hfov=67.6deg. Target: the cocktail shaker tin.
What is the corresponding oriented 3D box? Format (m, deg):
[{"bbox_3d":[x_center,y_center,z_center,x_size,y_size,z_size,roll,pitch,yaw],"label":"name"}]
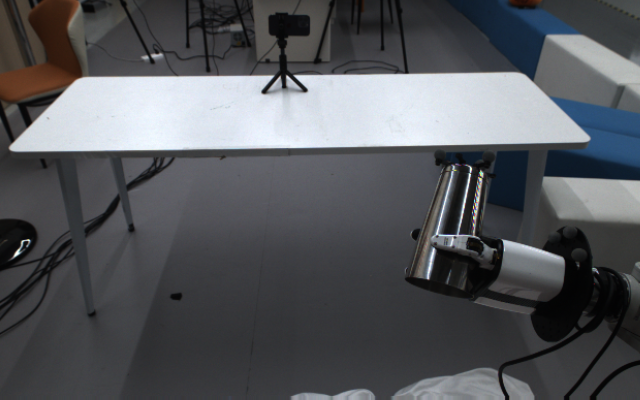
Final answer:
[{"bbox_3d":[0.183,0.040,0.672,0.093,0.093,0.170,13,74,15],"label":"cocktail shaker tin"}]
